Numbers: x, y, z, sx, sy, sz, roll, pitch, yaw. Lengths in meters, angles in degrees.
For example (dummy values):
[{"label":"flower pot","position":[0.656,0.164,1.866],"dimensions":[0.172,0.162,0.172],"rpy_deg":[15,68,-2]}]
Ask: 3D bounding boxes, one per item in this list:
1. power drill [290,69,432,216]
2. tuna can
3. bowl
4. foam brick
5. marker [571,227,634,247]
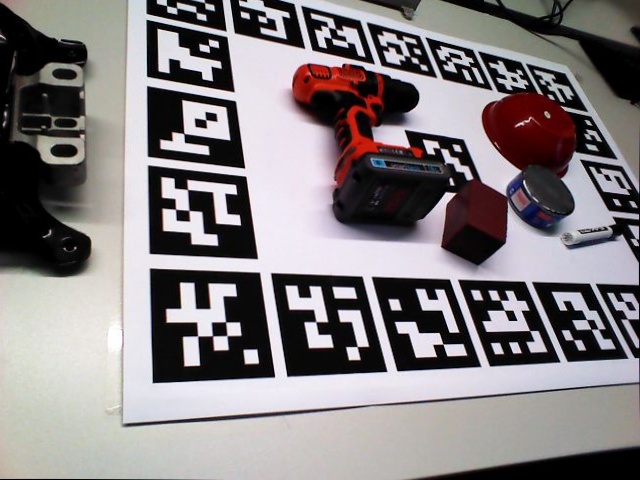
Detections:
[{"label":"power drill","position":[0.064,-0.119,0.612],"dimensions":[0.184,0.058,0.186],"rpy_deg":[4,54,-28]},{"label":"tuna can","position":[0.307,-0.057,0.697],"dimensions":[0.085,0.034,0.085],"rpy_deg":[14,53,-20]},{"label":"bowl","position":[0.330,-0.164,0.781],"dimensions":[0.161,0.055,0.160],"rpy_deg":[11,48,-13]},{"label":"foam brick","position":[0.186,-0.015,0.607],"dimensions":[0.051,0.053,0.077],"rpy_deg":[25,52,-11]},{"label":"marker","position":[0.391,-0.005,0.710],"dimensions":[0.120,0.020,0.019],"rpy_deg":[-6,63,-29]}]
